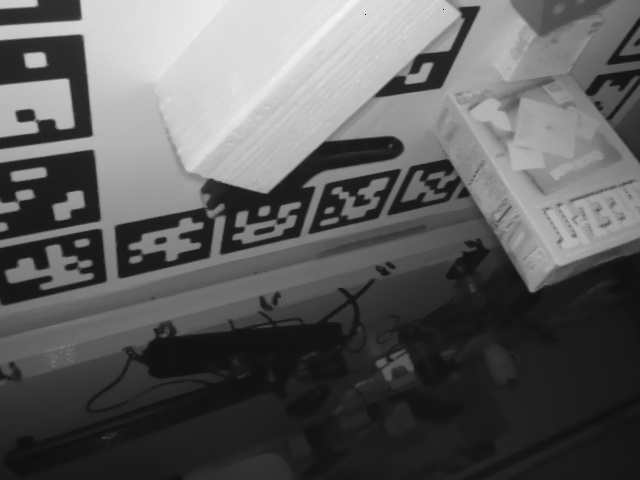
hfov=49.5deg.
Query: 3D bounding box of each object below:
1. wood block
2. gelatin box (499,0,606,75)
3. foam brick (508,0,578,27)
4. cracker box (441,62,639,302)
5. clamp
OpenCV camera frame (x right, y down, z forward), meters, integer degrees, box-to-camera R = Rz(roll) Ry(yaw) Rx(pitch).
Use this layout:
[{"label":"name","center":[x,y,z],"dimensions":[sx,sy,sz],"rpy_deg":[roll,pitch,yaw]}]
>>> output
[{"label":"wood block","center":[-0.034,-0.124,0.527],"dimensions":[0.091,0.091,0.203],"rpy_deg":[6,139,-46]},{"label":"gelatin box","center":[0.223,-0.203,0.664],"dimensions":[0.090,0.030,0.072],"rpy_deg":[-18,146,-15]},{"label":"foam brick","center":[0.195,-0.228,0.579],"dimensions":[0.078,0.051,0.053],"rpy_deg":[-30,147,5]},{"label":"cracker box","center":[0.242,-0.066,0.690],"dimensions":[0.165,0.214,0.071],"rpy_deg":[-17,149,-12]},{"label":"clamp","center":[-0.015,-0.067,0.671],"dimensions":[0.202,0.036,0.166],"rpy_deg":[-34,148,10]}]
